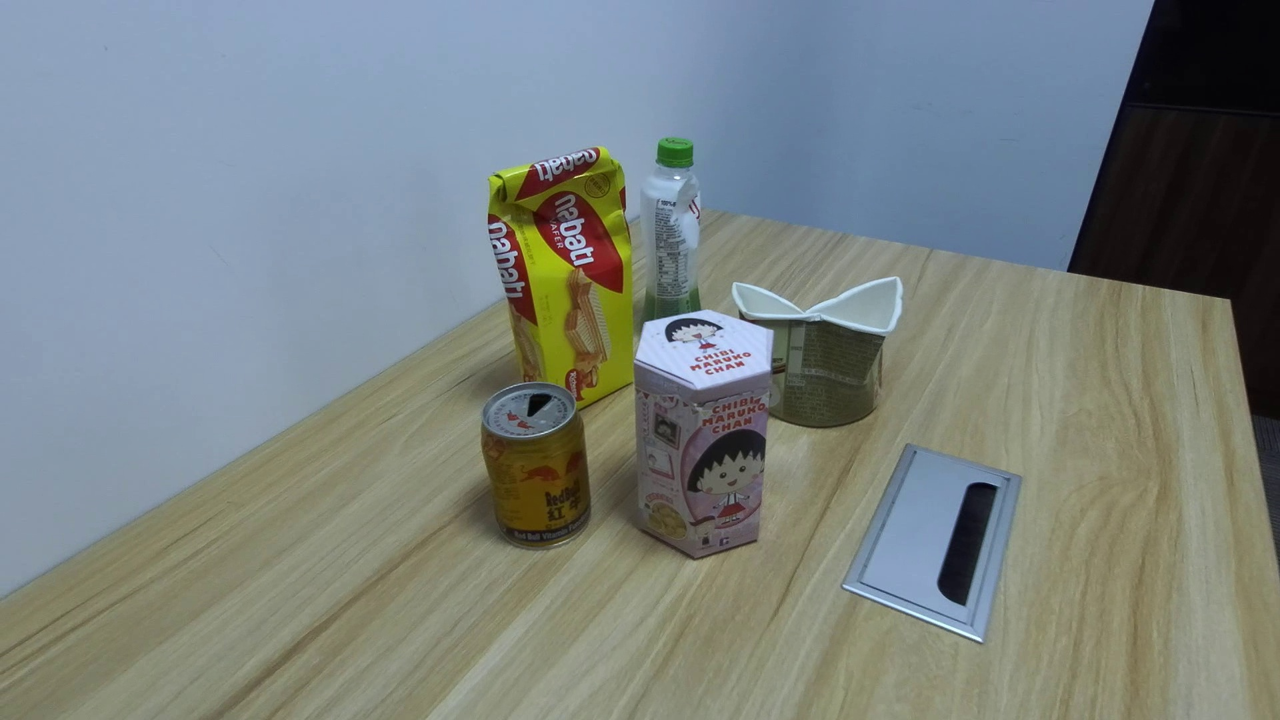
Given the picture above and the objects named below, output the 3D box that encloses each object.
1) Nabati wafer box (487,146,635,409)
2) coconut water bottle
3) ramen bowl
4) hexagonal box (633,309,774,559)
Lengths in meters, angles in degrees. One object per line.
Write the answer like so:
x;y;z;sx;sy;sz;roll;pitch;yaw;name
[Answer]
-0.055;-0.056;0.560;0.114;0.205;0.042;-27;37;-32;Nabati wafer box
0.028;-0.107;0.646;0.069;0.187;0.069;0;27;1;coconut water bottle
0.141;-0.015;0.584;0.128;0.093;0.111;9;34;16;ramen bowl
0.041;0.048;0.448;0.091;0.136;0.083;-13;33;-17;hexagonal box
